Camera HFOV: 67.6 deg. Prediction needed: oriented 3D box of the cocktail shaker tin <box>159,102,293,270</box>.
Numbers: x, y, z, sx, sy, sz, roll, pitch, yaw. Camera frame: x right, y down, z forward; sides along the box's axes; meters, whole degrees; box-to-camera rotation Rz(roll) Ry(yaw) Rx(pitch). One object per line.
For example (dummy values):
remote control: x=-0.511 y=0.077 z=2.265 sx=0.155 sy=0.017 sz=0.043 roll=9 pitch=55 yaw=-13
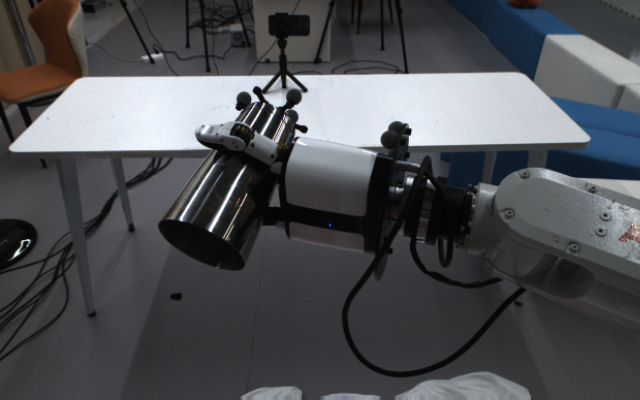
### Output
cocktail shaker tin: x=-0.087 y=-0.022 z=0.513 sx=0.093 sy=0.093 sz=0.170 roll=13 pitch=58 yaw=16
